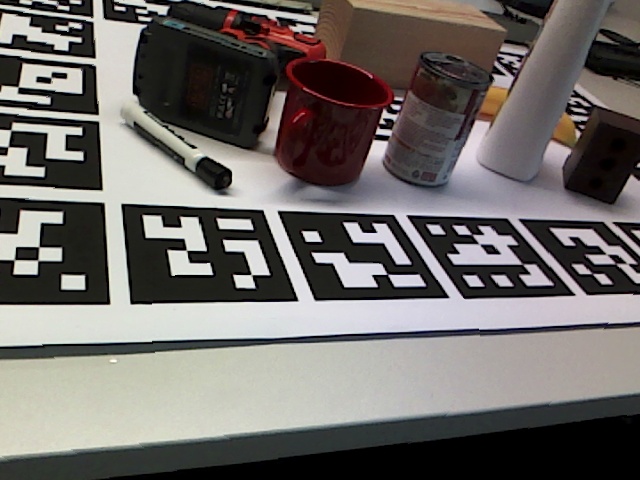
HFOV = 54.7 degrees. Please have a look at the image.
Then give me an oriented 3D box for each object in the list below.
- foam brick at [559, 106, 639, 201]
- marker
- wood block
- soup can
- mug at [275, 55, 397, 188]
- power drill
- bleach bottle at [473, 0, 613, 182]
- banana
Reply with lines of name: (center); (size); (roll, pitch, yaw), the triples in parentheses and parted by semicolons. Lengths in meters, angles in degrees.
foam brick: (0.290, -0.090, 0.638); (0.053, 0.078, 0.051); (18, 33, 5)
marker: (-0.109, -0.062, 0.490); (0.122, 0.019, 0.019); (36, 42, 24)
wood block: (0.099, -0.241, 0.755); (0.205, 0.091, 0.090); (-2, 41, -25)
soup can: (0.104, -0.110, 0.557); (0.068, 0.102, 0.068); (12, 31, -8)
mug: (0.003, -0.093, 0.519); (0.093, 0.081, 0.117); (26, 39, 10)
power drill: (-0.093, -0.169, 0.615); (0.184, 0.057, 0.187); (19, 34, -2)
bleach bottle: (0.224, -0.185, 0.589); (0.068, 0.250, 0.103); (16, 34, 0)
banana: (0.197, -0.170, 0.736); (0.197, 0.039, 0.074); (10, 49, -12)
